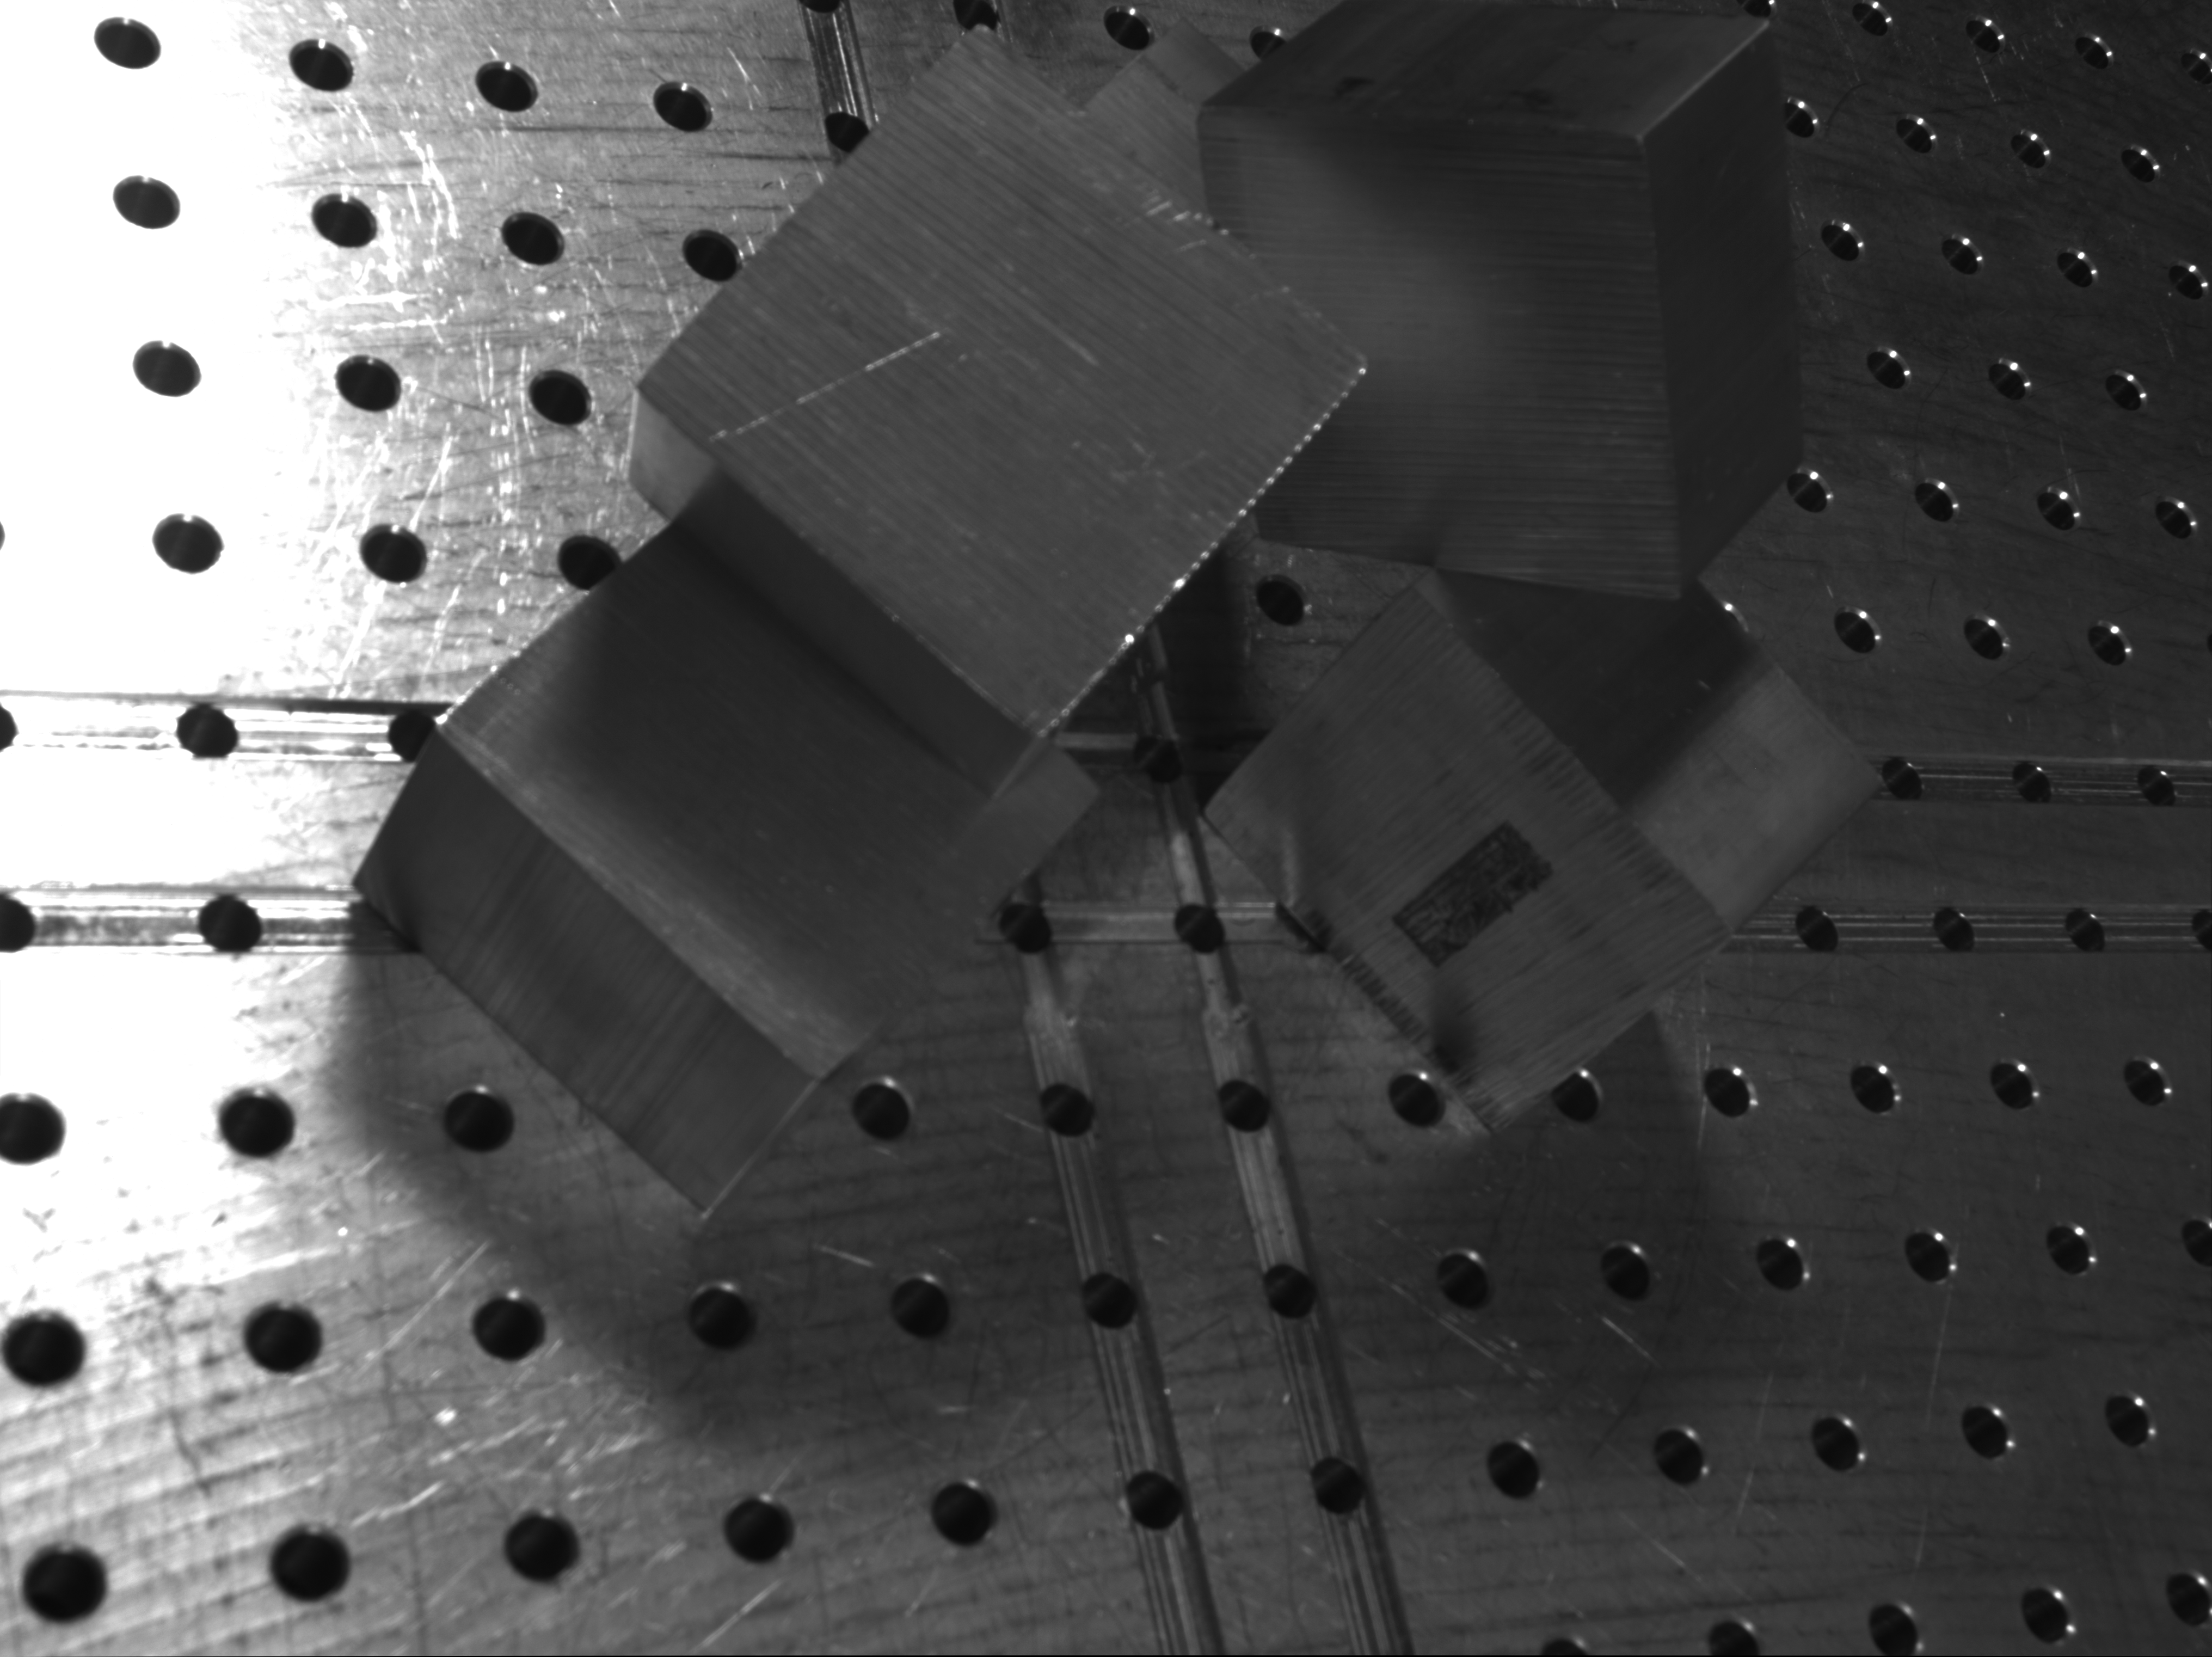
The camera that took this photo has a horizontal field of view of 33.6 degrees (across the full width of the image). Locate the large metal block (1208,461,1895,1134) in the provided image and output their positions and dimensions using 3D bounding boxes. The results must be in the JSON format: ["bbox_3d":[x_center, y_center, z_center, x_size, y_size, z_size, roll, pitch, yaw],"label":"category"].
[{"bbox_3d":[0.077,-0.005,0.650,0.080,0.080,0.050,47,51,5],"label":"large metal block"}]

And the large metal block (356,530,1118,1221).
[{"bbox_3d":[-0.059,0.002,0.593,0.080,0.050,0.080,43,51,1],"label":"large metal block"}]

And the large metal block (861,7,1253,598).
[{"bbox_3d":[-0.002,-0.088,0.658,0.050,0.080,0.080,41,51,0],"label":"large metal block"}]

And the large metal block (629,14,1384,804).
[{"bbox_3d":[-0.017,-0.064,0.572,0.080,0.050,0.080,41,76,0],"label":"large metal block"}]

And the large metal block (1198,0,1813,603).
[{"bbox_3d":[0.068,-0.089,0.607,0.080,0.080,0.050,11,37,31],"label":"large metal block"}]
